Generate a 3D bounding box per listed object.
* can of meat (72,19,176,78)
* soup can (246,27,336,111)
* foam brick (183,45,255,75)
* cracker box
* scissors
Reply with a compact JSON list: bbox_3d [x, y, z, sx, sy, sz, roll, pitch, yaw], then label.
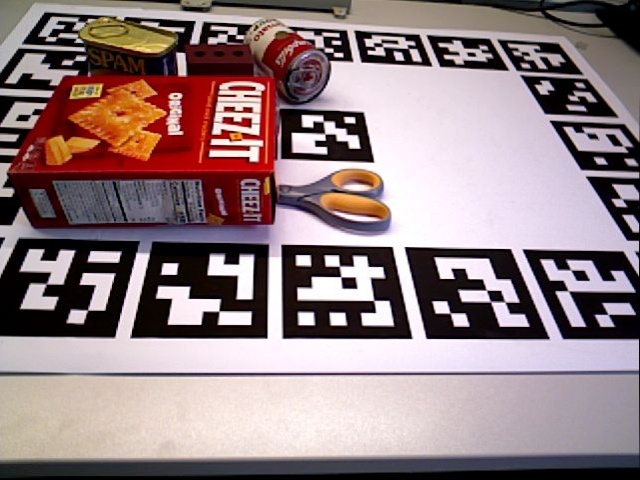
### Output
[{"bbox_3d":[-0.208,-0.184,0.595,0.101,0.086,0.056,12,47,3],"label":"can of meat"},{"bbox_3d":[-0.038,-0.211,0.664,0.066,0.069,0.102,-30,52,-30],"label":"soup can"},{"bbox_3d":[-0.118,-0.192,0.639,0.077,0.052,0.052,-7,49,-13],"label":"foam brick"},{"bbox_3d":[-0.146,-0.086,0.502,0.212,0.073,0.162,-5,47,-6],"label":"cracker box"},{"bbox_3d":[-0.032,-0.036,0.512,0.201,0.016,0.086,-3,48,-9],"label":"scissors"}]
